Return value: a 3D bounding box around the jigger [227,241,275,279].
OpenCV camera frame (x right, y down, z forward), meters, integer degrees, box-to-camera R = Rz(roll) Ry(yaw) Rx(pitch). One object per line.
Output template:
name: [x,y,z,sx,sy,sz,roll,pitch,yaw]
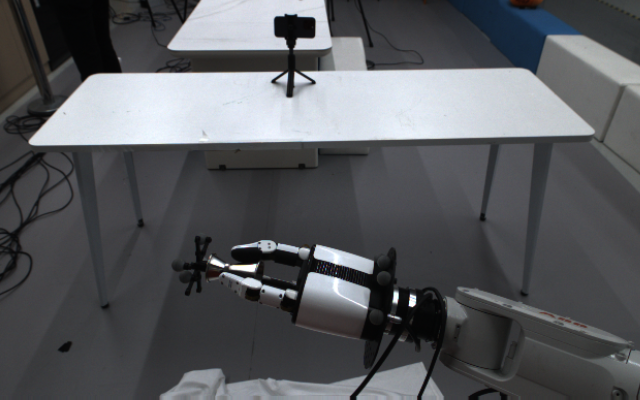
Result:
jigger: [-0.105,0.090,0.647,0.071,0.043,0.043,7,35,6]
